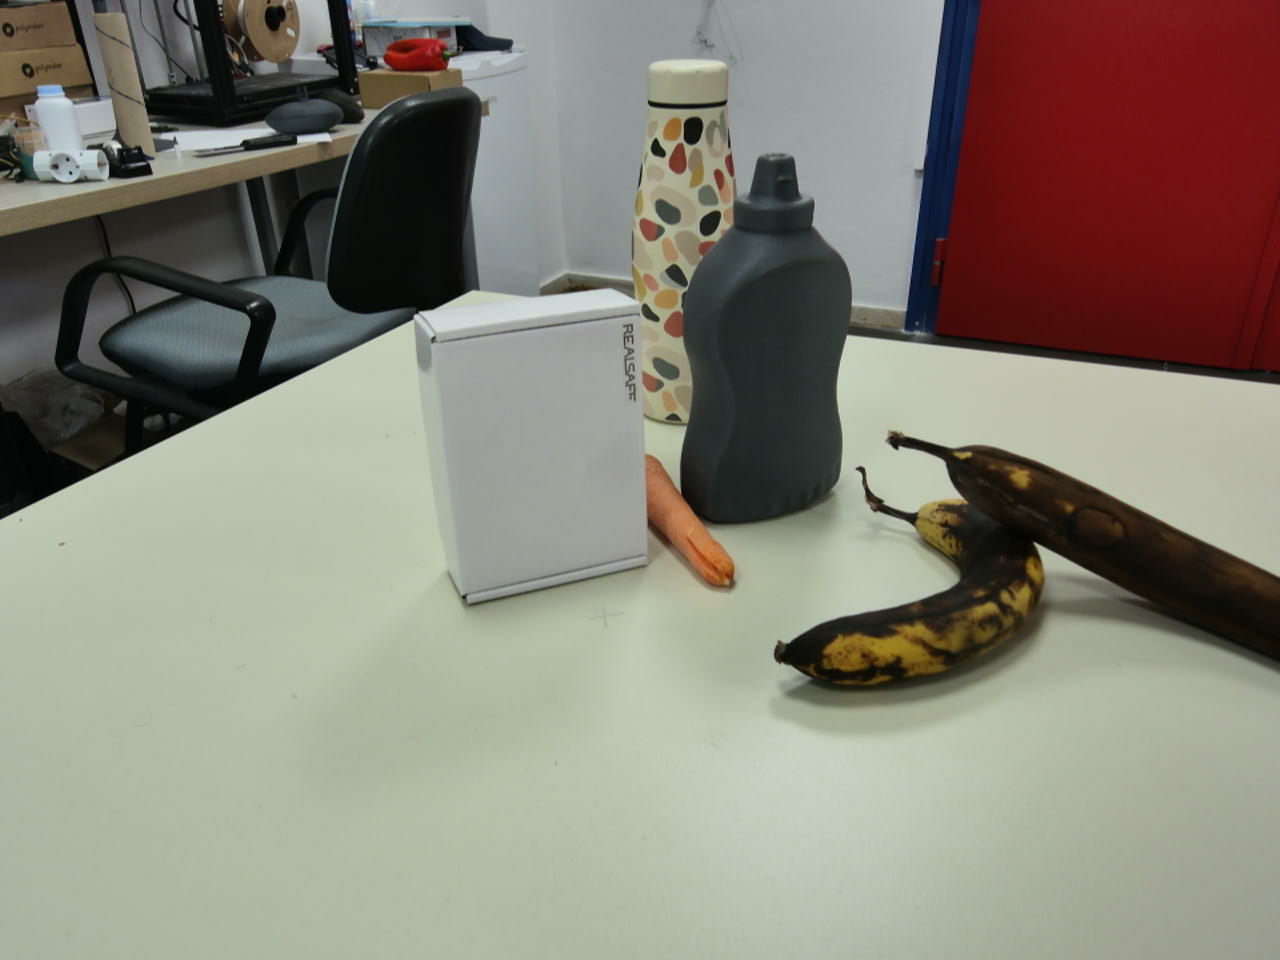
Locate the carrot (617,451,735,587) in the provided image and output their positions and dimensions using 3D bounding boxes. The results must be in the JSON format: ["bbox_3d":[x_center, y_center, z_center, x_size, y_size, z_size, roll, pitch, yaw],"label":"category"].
[{"bbox_3d":[0.020,0.019,0.576,0.030,0.032,0.136,-9,26,-19],"label":"carrot"}]
